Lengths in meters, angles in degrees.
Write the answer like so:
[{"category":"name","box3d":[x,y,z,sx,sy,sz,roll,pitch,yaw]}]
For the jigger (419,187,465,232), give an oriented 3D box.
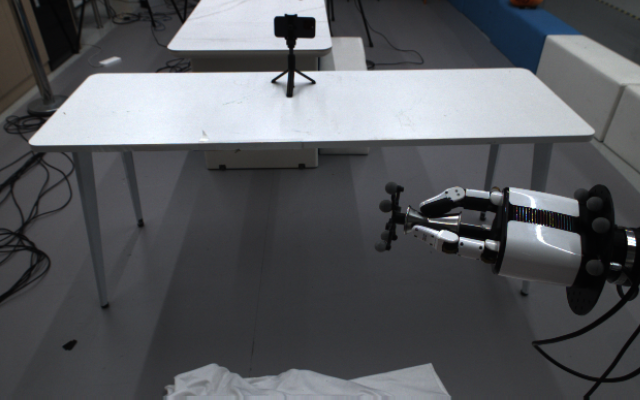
[{"category":"jigger","box3d":[0.153,0.028,0.629,0.071,0.043,0.043,9,35,17]}]
